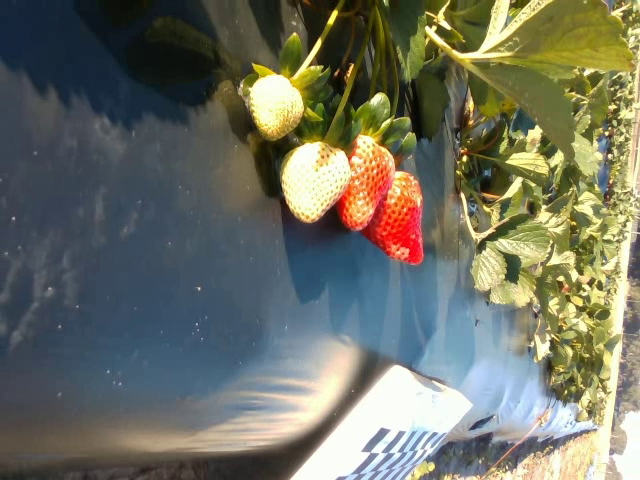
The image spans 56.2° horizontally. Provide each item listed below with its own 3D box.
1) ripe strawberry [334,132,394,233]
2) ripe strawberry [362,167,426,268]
[{"bbox_3d":[0.019,-0.028,0.304,0.043,0.061,0.051,4,-33,5],"label":"ripe strawberry"},{"bbox_3d":[0.044,-0.011,0.349,0.056,0.067,0.051,-27,3,-32],"label":"ripe strawberry"}]
